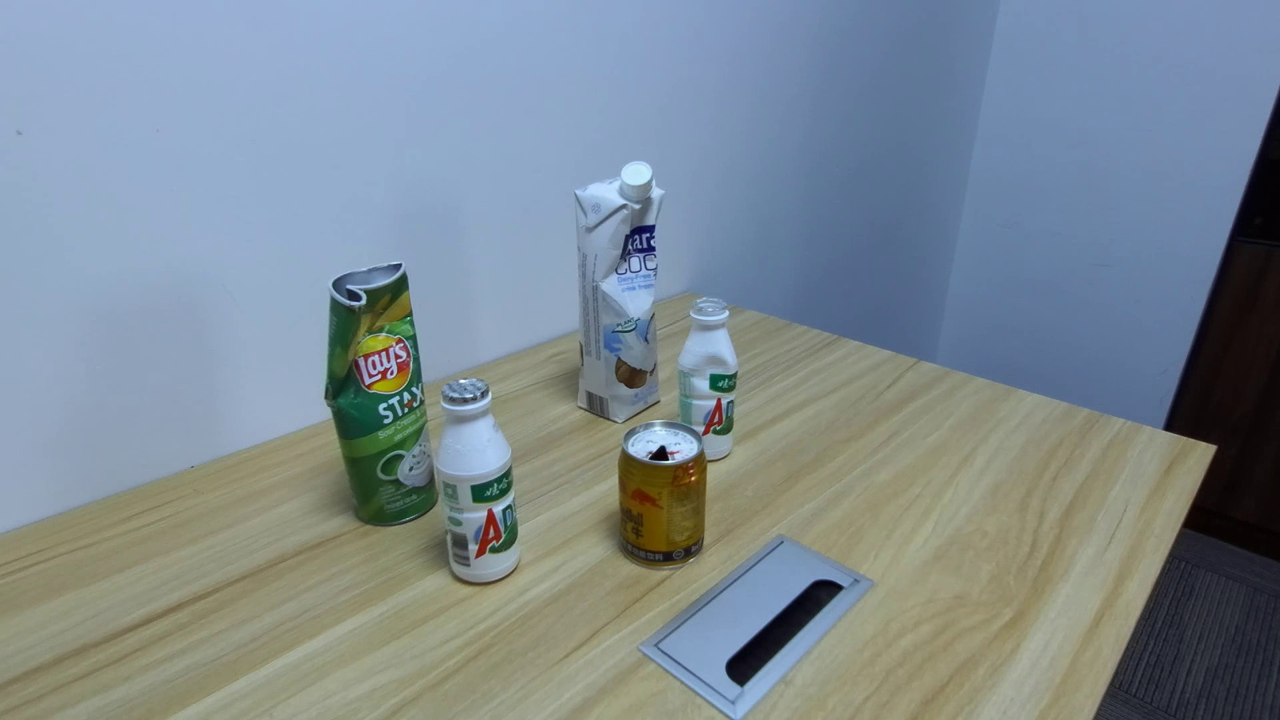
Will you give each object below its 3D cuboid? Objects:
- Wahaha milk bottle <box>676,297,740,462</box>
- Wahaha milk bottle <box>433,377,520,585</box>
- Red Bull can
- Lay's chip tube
[{"bbox_3d":[0.062,0.018,0.640,0.055,0.149,0.055,0,26,0],"label":"Wahaha milk bottle"},{"bbox_3d":[-0.116,0.086,0.500,0.053,0.147,0.053,0,26,0],"label":"Wahaha milk bottle"},{"bbox_3d":[0.017,0.100,0.531,0.067,0.093,0.067,0,25,0],"label":"Red Bull can"},{"bbox_3d":[-0.207,0.030,0.562,0.069,0.201,0.077,-8,27,-16],"label":"Lay's chip tube"}]
